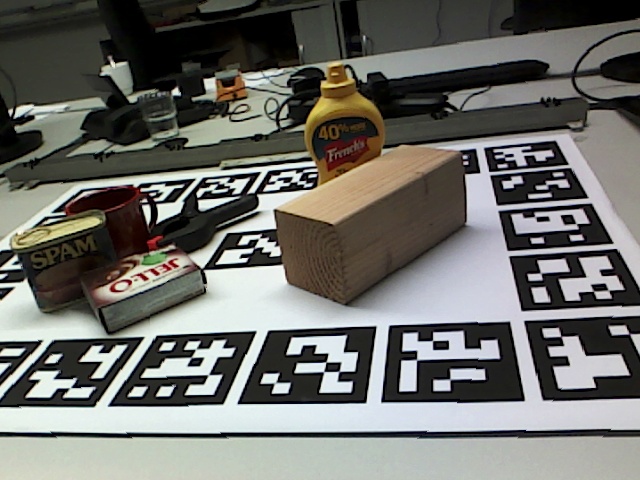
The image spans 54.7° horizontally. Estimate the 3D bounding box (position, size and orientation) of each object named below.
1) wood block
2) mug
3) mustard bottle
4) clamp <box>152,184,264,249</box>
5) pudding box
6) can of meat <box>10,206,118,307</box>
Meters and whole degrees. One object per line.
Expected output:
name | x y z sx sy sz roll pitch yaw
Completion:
wood block | 0.061 -0.020 0.666 0.205 0.090 0.090 -28 29 -34
mug | -0.252 -0.008 0.811 0.094 0.081 0.117 8 34 33
mustard bottle | 0.030 -0.116 0.741 0.096 0.191 0.058 -7 27 10
clamp | -0.165 -0.028 0.828 0.122 0.036 0.165 8 34 29
pudding box | -0.190 0.048 0.679 0.113 0.038 0.090 -21 29 -23
can of meat | -0.287 0.019 0.708 0.101 0.083 0.058 -18 29 -14
